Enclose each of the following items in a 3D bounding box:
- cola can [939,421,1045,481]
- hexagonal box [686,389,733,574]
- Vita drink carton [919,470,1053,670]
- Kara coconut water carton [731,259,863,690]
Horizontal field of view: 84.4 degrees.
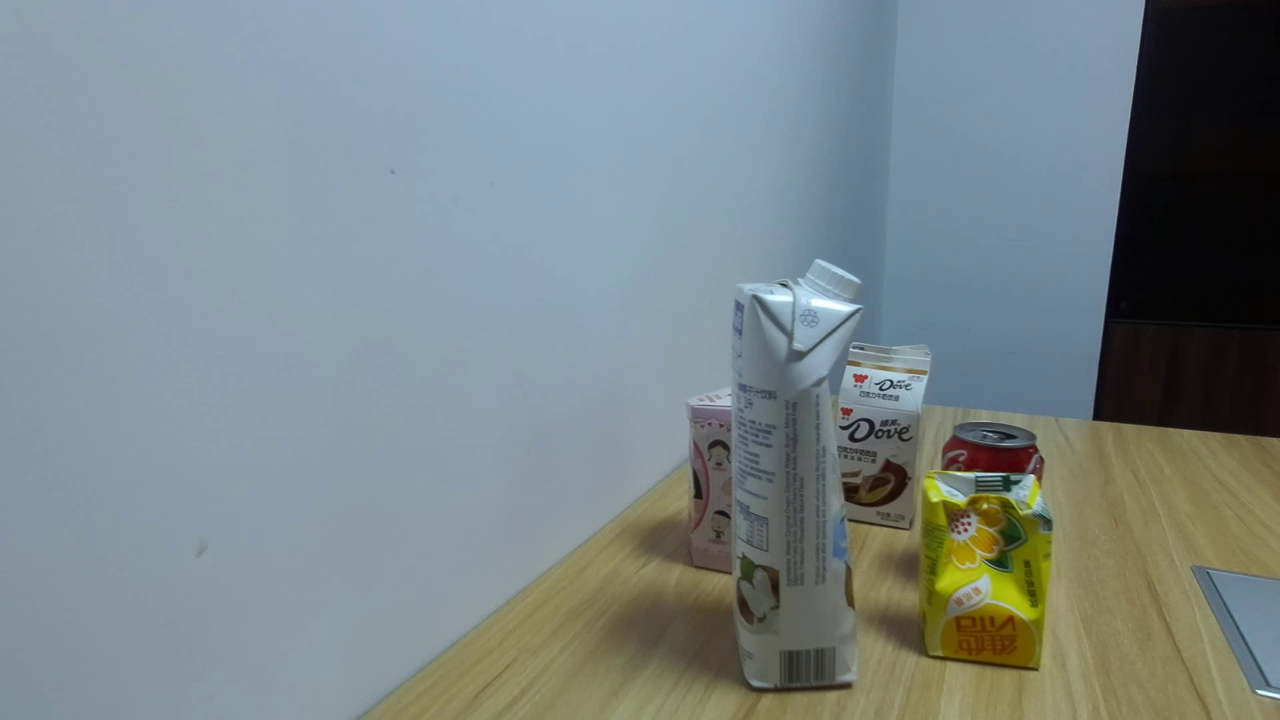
[{"bbox_3d":[0.257,0.106,0.523,0.068,0.120,0.068,-1,15,1],"label":"cola can"},{"bbox_3d":[0.084,0.095,0.590,0.085,0.135,0.092,-2,13,-2],"label":"hexagonal box"},{"bbox_3d":[0.212,0.128,0.437,0.071,0.109,0.046,1,9,14],"label":"Vita drink carton"},{"bbox_3d":[0.091,0.064,0.419,0.071,0.244,0.099,-1,14,0],"label":"Kara coconut water carton"}]
